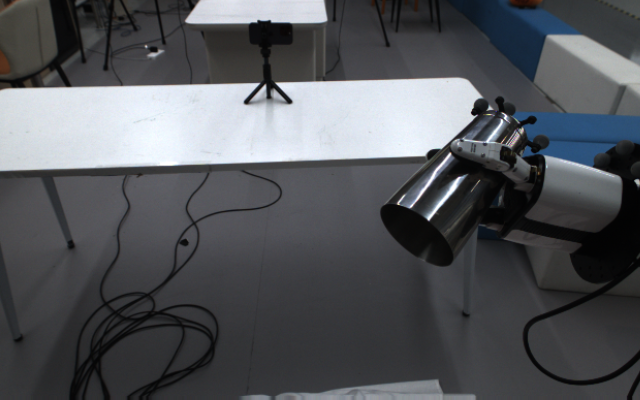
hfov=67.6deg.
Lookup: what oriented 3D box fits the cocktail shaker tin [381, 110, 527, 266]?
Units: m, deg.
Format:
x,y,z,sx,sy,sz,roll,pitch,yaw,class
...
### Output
x,y,z,sx,sy,sz,roll,pitch,yaw,class
0.155,-0.024,0.533,0.093,0.093,0.170,32,67,36,cocktail shaker tin
